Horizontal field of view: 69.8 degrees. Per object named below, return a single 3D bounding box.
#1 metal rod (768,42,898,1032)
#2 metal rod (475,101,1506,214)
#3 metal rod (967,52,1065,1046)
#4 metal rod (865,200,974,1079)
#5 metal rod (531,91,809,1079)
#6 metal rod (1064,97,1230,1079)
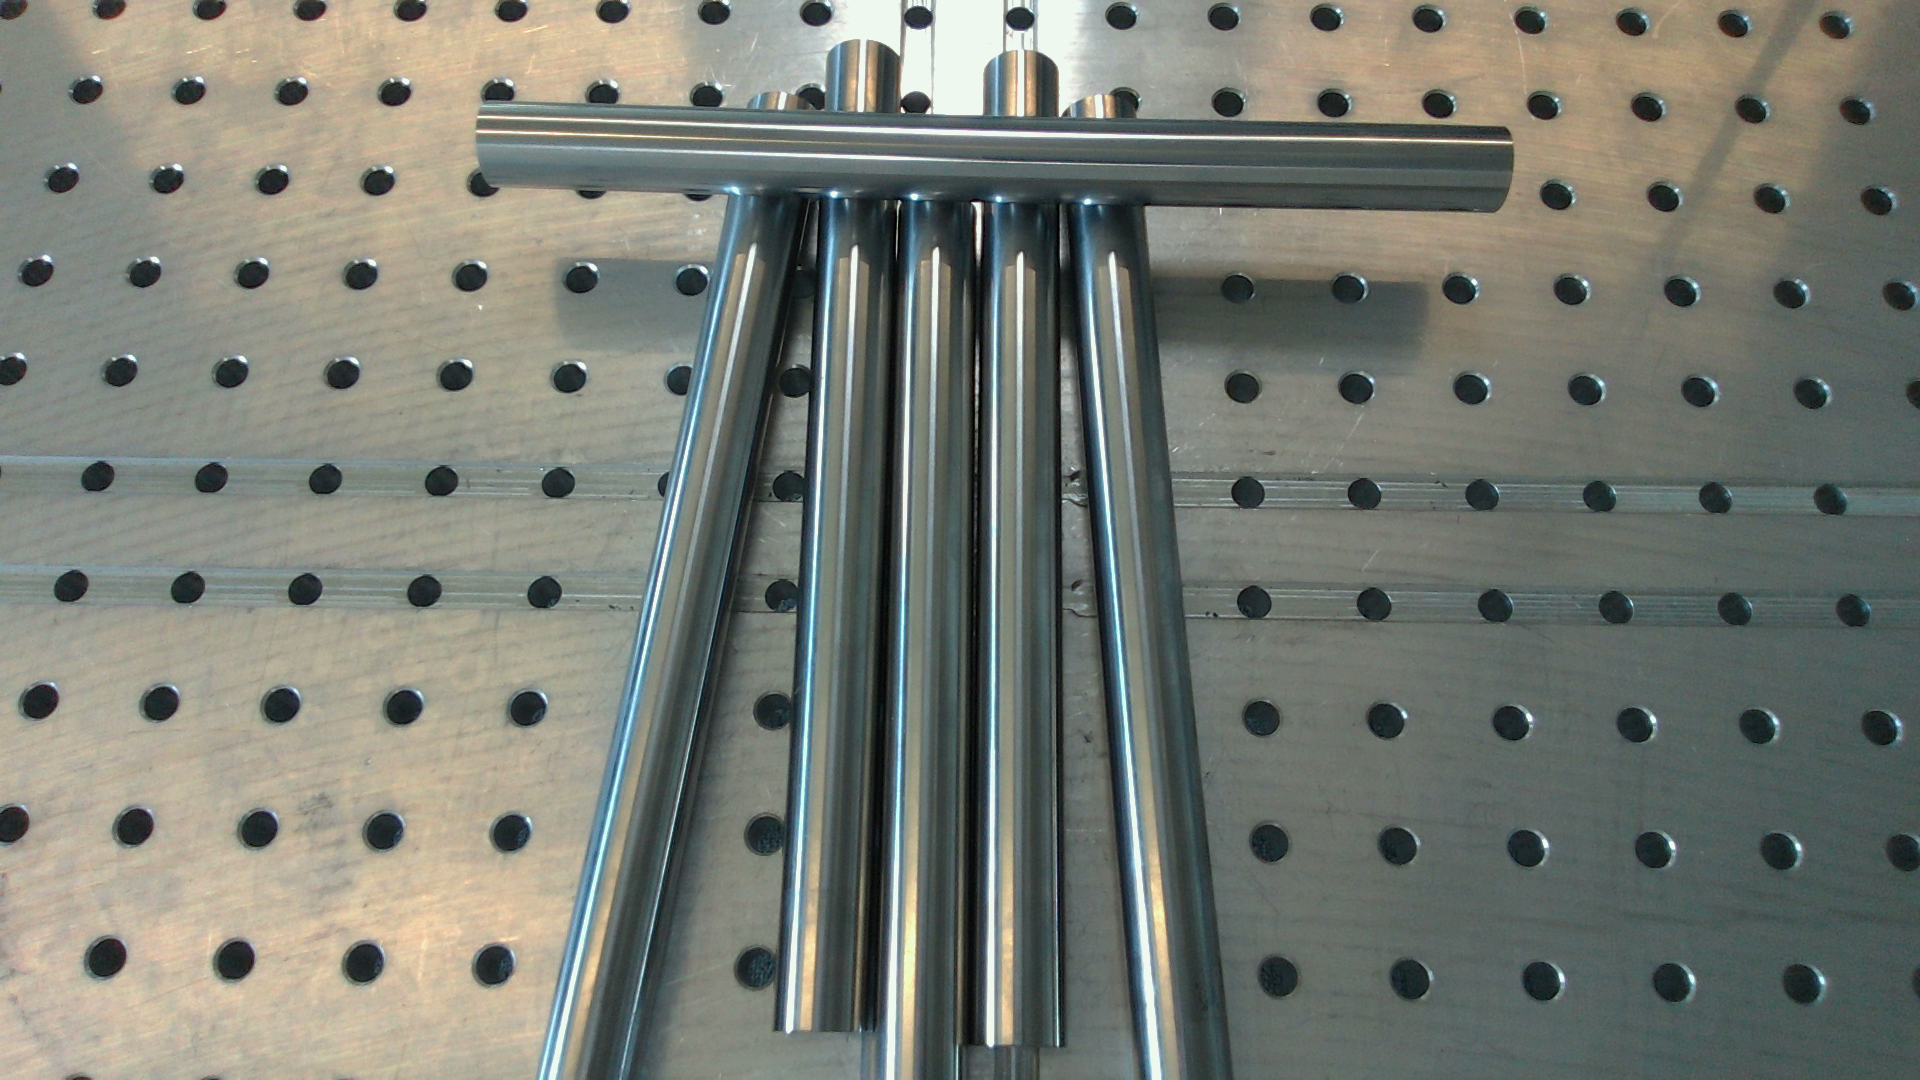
[{"bbox_3d":[-0.035,-0.015,0.403,0.025,0.025,0.300,1,70,0],"label":"metal rod"},{"bbox_3d":[0.009,-0.114,0.412,0.300,0.025,0.025,2,70,0],"label":"metal rod"},{"bbox_3d":[0.017,-0.012,0.403,0.025,0.025,0.300,1,70,0],"label":"metal rod"},{"bbox_3d":[-0.010,0.037,0.383,0.025,0.025,0.300,1,70,0],"label":"metal rod"},{"bbox_3d":[-0.077,0.002,0.395,0.025,0.025,0.300,7,70,3],"label":"metal rod"},{"bbox_3d":[0.050,0.005,0.396,0.025,0.025,0.300,-2,70,-1],"label":"metal rod"}]
